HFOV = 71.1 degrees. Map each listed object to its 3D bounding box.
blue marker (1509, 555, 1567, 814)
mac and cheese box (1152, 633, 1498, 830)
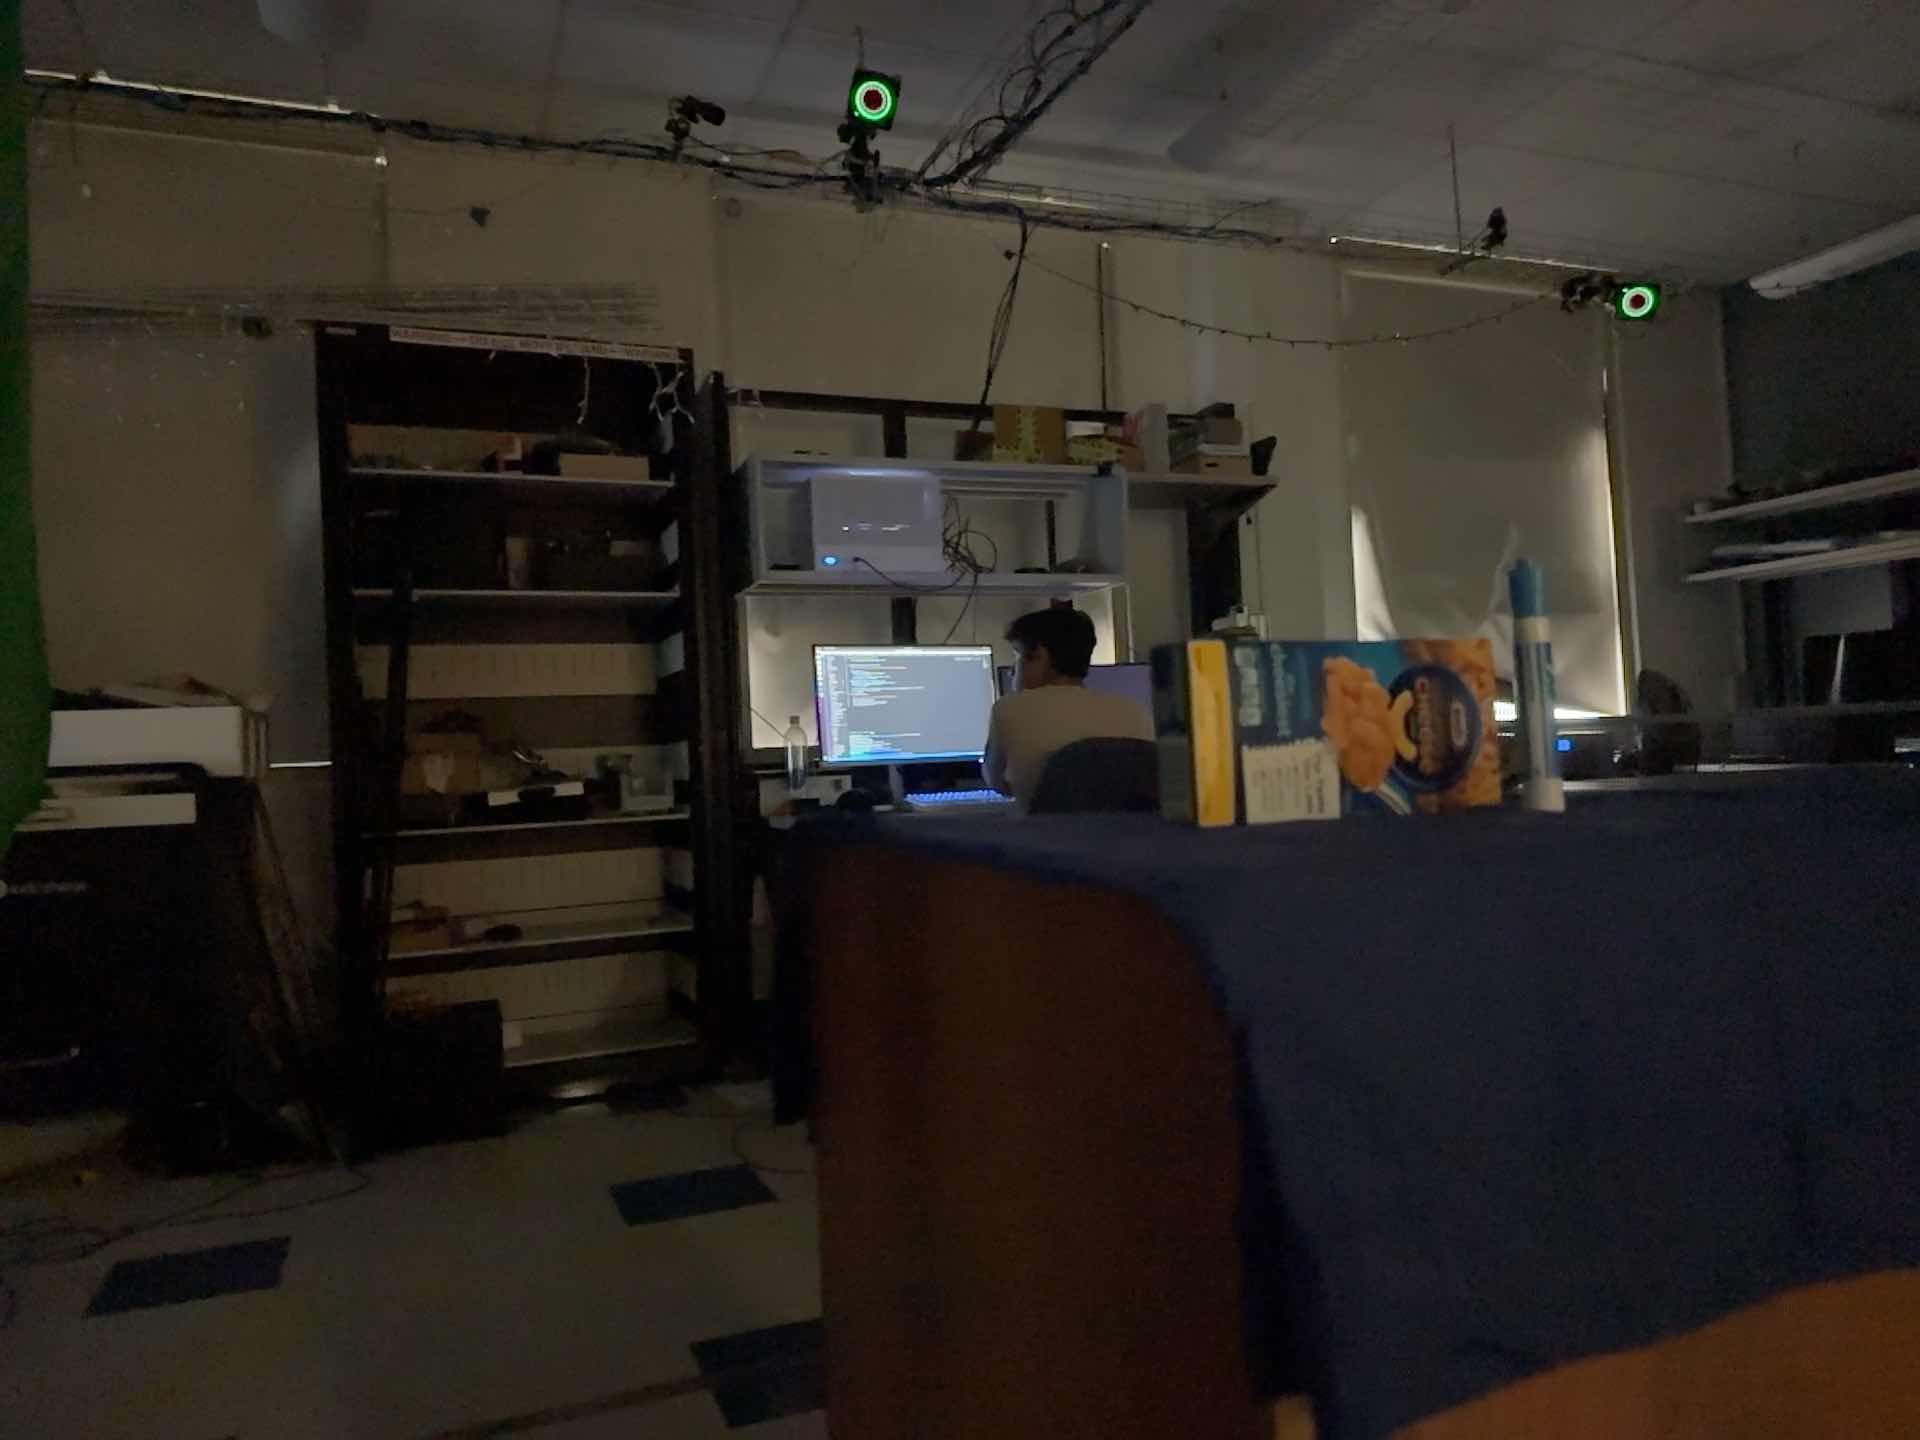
[{"bbox_3d":[0.271,-0.017,0.631,0.020,0.121,0.020,-2,-3,0],"label":"blue marker"},{"bbox_3d":[0.184,0.003,0.666,0.181,0.088,0.035,-2,-3,-24],"label":"mac and cheese box"}]
